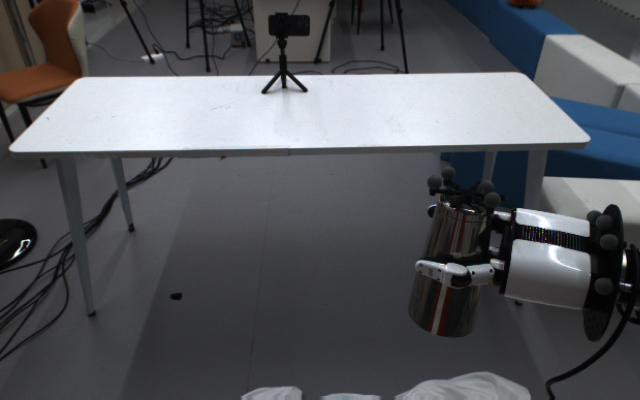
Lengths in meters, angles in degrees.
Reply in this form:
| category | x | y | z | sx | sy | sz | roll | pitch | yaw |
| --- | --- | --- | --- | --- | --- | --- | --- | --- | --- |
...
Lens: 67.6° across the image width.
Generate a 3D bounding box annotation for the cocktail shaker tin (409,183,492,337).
| category | x | y | z | sx | sy | sz | roll | pitch | yaw |
| --- | --- | --- | --- | --- | --- | --- | --- | --- | --- |
| cocktail shaker tin | 0.171 | 0.076 | 0.613 | 0.093 | 0.170 | 0.093 | 3 | 26 | -1 |
